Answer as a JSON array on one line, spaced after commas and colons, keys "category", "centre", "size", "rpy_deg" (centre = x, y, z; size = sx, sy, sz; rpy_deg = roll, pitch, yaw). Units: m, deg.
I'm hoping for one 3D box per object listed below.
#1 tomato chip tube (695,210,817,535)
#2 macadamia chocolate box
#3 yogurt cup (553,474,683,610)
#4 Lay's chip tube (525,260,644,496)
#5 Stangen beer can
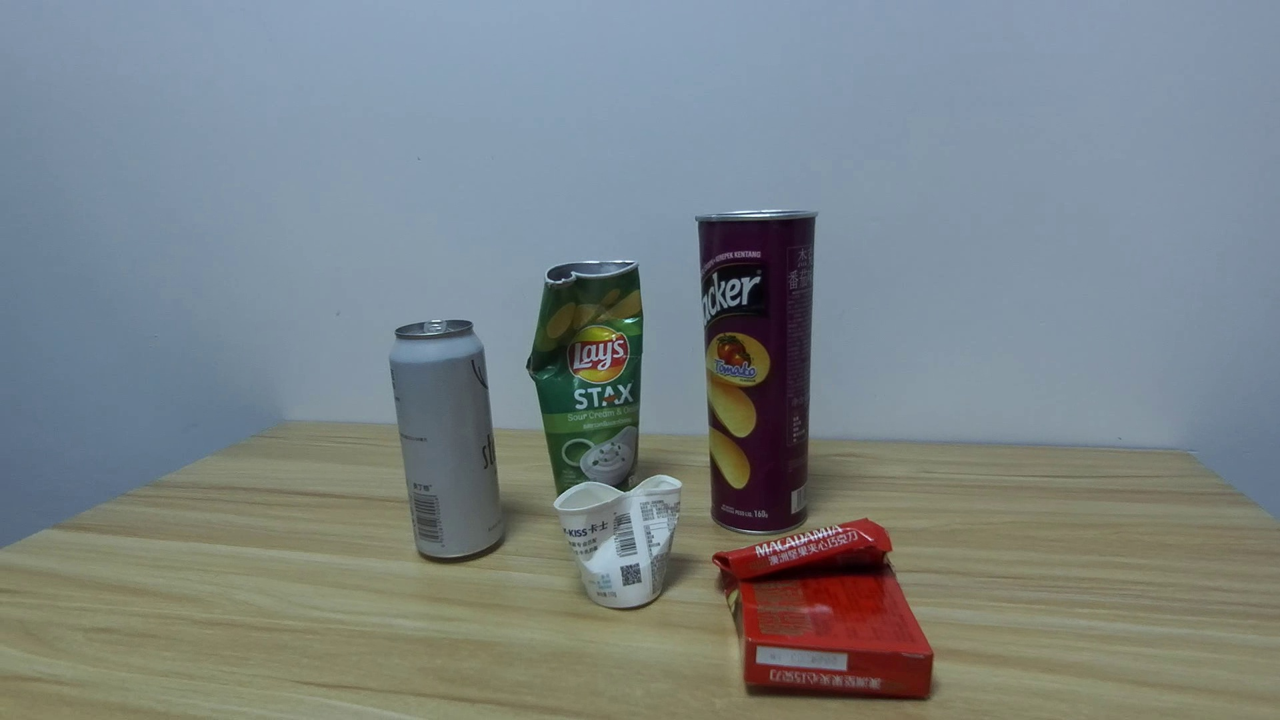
[{"category": "tomato chip tube", "centre": [0.089, 0.009, 0.534], "size": [0.077, 0.234, 0.080], "rpy_deg": [-7, 14, -18]}, {"category": "macadamia chocolate box", "centre": [0.099, 0.142, 0.412], "size": [0.112, 0.056, 0.126], "rpy_deg": [-16, 14, 11]}, {"category": "yogurt cup", "centre": [-0.012, 0.116, 0.459], "size": [0.053, 0.071, 0.076], "rpy_deg": [12, 22, 44]}, {"category": "Lay's chip tube", "centre": [-0.040, 0.022, 0.582], "size": [0.069, 0.201, 0.077], "rpy_deg": [6, 19, 32]}, {"category": "Stangen beer can", "centre": [-0.143, 0.060, 0.526], "size": [0.067, 0.171, 0.067], "rpy_deg": [-4, 11, 1]}]
